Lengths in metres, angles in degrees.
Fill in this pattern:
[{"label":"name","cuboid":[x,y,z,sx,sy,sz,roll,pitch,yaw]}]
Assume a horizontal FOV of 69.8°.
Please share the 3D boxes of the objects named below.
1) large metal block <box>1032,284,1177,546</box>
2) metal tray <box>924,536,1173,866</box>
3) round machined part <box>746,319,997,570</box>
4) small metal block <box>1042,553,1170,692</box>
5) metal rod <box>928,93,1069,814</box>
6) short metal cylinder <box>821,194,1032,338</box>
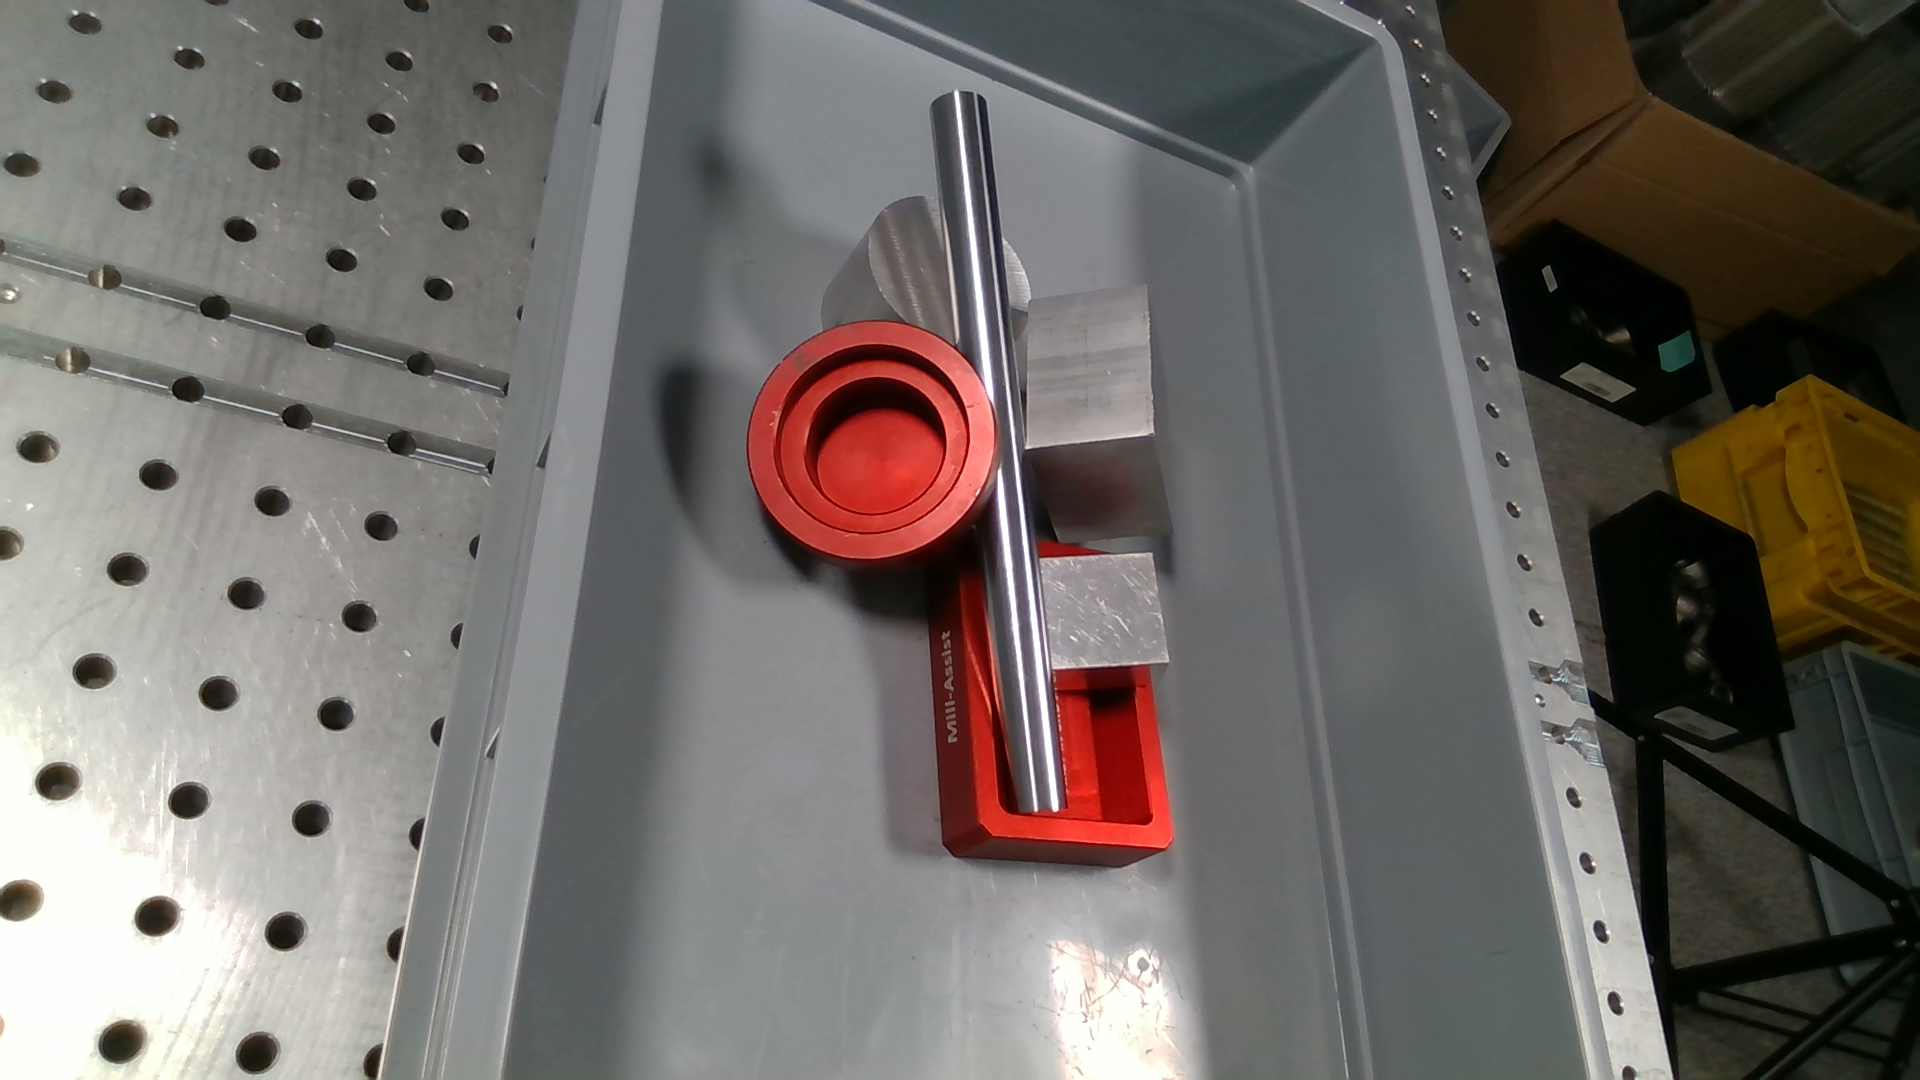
[{"label":"large metal block","cuboid":[0.064,-0.053,0.607,0.050,0.080,0.080,-6,59,13]},{"label":"metal tray","cuboid":[0.035,0.065,0.567,0.090,0.030,0.130,10,61,-27]},{"label":"round machined part","cuboid":[-0.033,-0.035,0.551,0.098,0.042,0.098,-1,76,4]},{"label":"small metal block","cuboid":[0.057,0.035,0.574,0.050,0.025,0.050,-3,64,-4]},{"label":"metal rod","cuboid":[0.014,-0.041,0.562,0.025,0.025,0.299,1,76,-31]},{"label":"short metal cylinder","cuboid":[-0.015,-0.106,0.615,0.080,0.050,0.080,14,59,-25]}]
